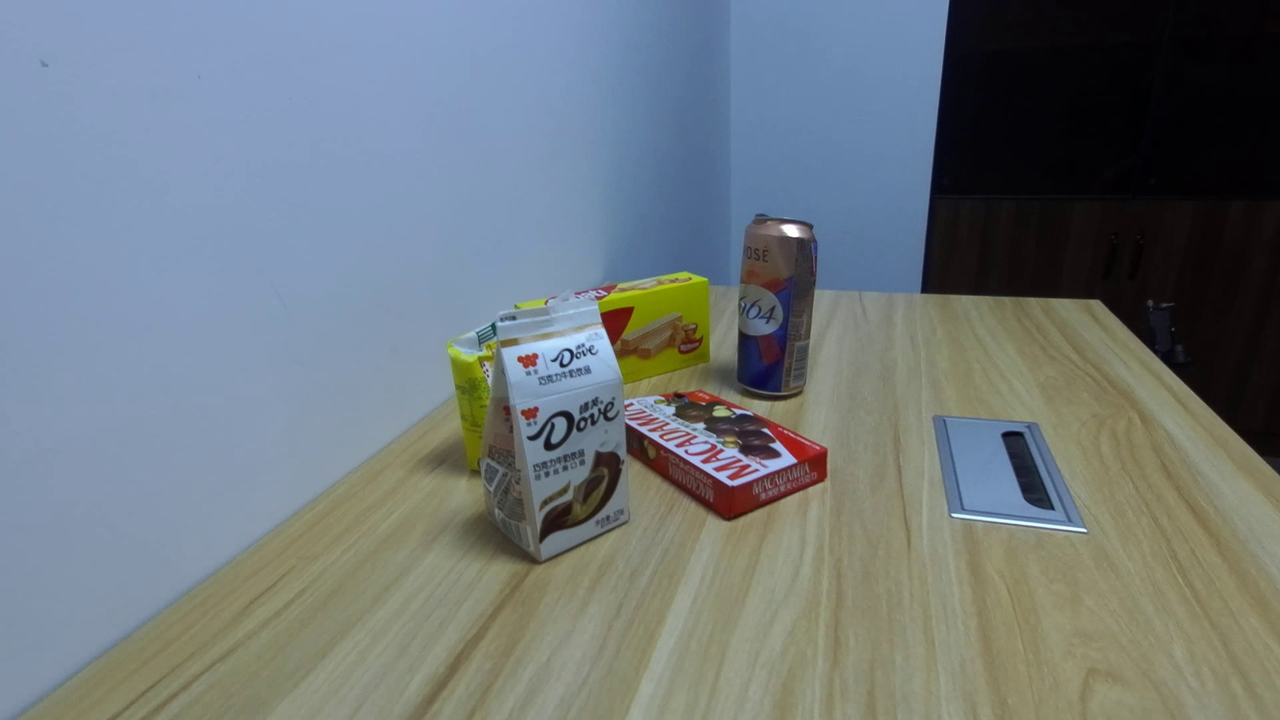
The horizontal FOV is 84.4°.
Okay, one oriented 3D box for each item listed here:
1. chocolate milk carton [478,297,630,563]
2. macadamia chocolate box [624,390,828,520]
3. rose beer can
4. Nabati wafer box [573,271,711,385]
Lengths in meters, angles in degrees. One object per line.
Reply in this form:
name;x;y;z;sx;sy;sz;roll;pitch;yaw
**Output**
chocolate milk carton;-0.061;0.038;0.456;0.084;0.155;0.072;-19;27;-34
macadamia chocolate box;0.051;0.062;0.567;0.103;0.027;0.186;-13;23;-31
rose beer can;0.126;-0.050;0.655;0.069;0.168;0.070;5;16;11
Nabati wafer box;-0.019;-0.025;0.711;0.204;0.093;0.042;-14;21;-28
